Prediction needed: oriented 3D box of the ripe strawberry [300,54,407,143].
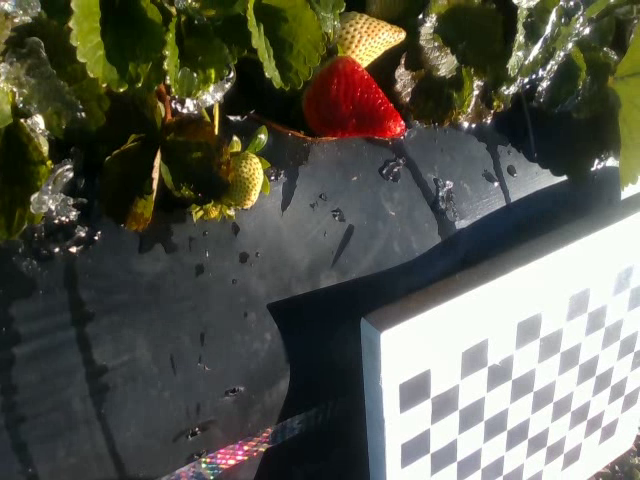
[{"bbox_3d":[0.018,-0.059,0.277,0.053,0.040,0.042,34,-8,22],"label":"ripe strawberry"}]
